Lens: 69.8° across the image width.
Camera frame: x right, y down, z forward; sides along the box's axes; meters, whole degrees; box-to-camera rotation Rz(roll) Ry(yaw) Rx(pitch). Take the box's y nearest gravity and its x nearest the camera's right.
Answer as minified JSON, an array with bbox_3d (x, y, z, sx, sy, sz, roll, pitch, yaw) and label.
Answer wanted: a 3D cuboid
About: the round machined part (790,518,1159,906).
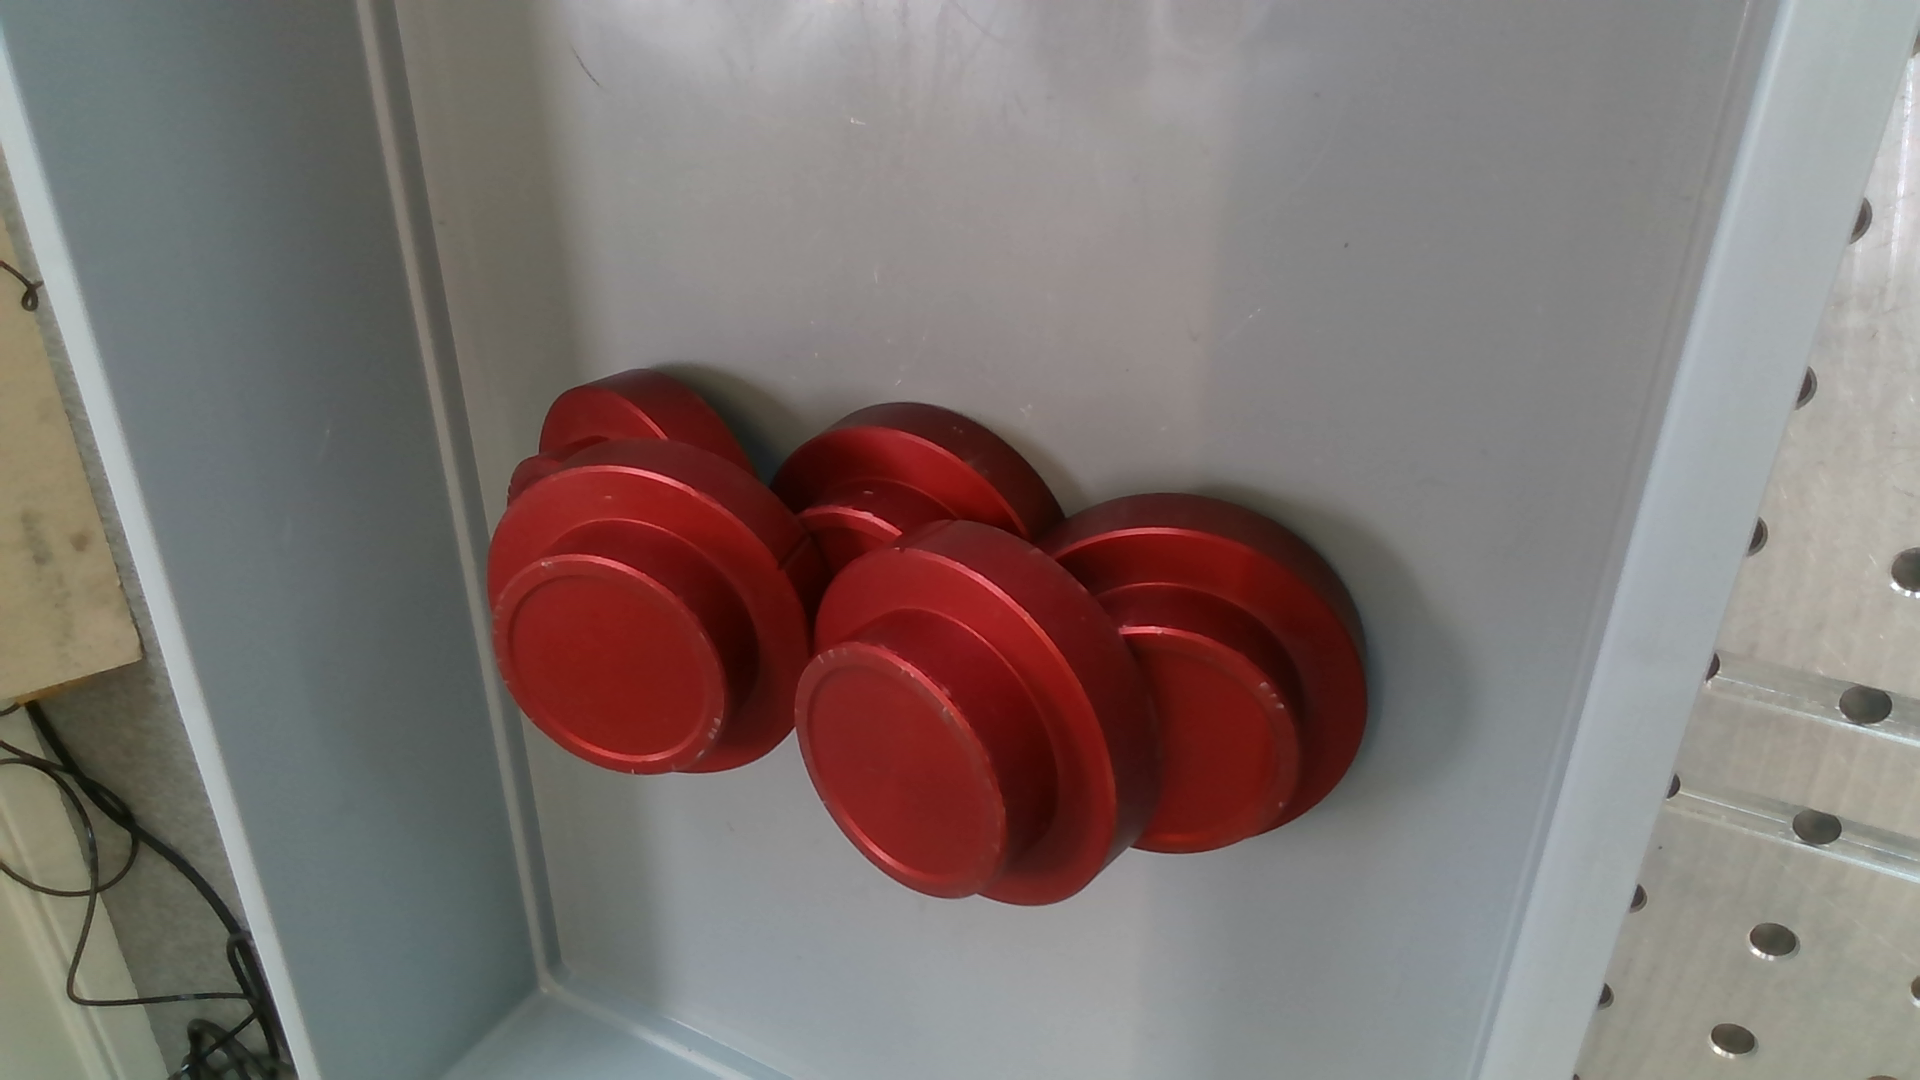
[{"bbox_3d":[-0.004,0.048,0.339,0.098,0.042,0.098,22,126,35],"label":"round machined part"}]

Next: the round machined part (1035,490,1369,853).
[{"bbox_3d":[0.053,0.040,0.352,0.098,0.042,0.098,6,119,11],"label":"round machined part"}]

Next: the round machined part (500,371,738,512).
[{"bbox_3d":[-0.105,0.000,0.424,0.098,0.042,0.098,24,127,37],"label":"round machined part"}]

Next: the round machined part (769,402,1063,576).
[{"bbox_3d":[-0.017,0.013,0.395,0.098,0.042,0.098,14,122,24],"label":"round machined part"}]

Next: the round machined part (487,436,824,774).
[{"bbox_3d":[-0.087,0.024,0.378,0.098,0.042,0.098,8,120,15],"label":"round machined part"}]
